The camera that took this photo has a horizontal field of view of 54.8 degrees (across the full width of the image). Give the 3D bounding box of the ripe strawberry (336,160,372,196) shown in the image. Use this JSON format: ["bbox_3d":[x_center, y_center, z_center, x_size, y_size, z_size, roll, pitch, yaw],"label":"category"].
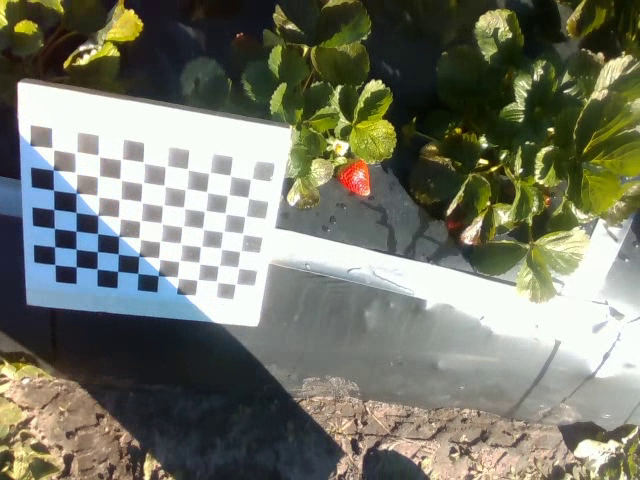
[{"bbox_3d":[0.048,-0.076,0.782,0.048,0.054,0.029,-33,26,13],"label":"ripe strawberry"}]
